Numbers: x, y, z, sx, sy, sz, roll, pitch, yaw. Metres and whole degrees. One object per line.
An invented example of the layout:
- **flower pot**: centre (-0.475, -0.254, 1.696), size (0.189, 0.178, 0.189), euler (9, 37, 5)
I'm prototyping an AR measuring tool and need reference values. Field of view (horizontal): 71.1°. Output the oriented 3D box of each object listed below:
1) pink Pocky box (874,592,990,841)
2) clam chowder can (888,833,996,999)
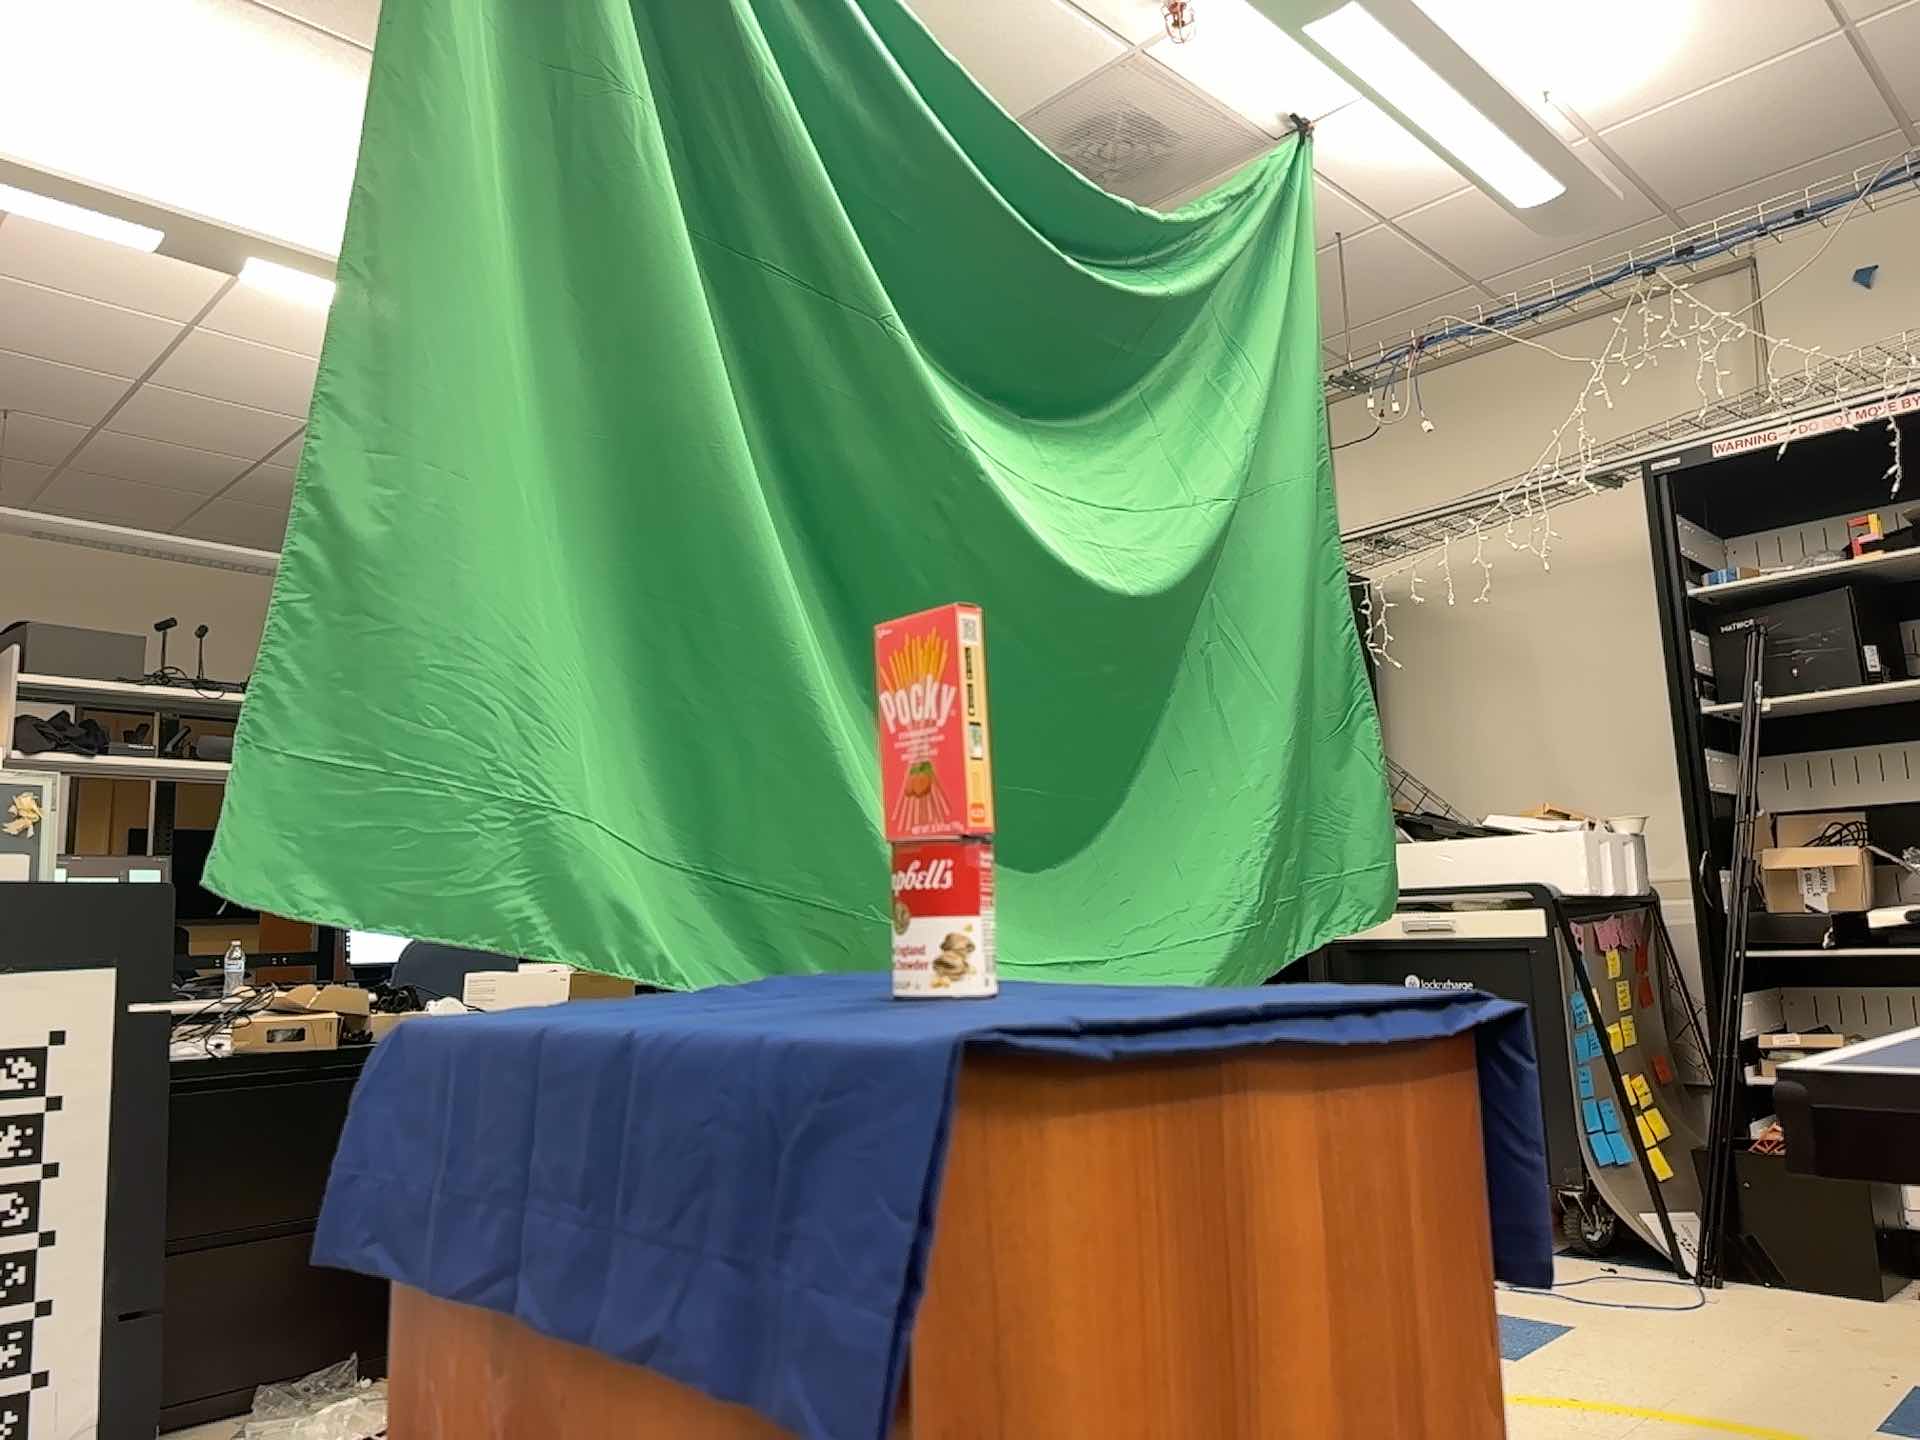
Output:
- **pink Pocky box**: centre (-0.020, -0.001, 0.882), size (0.029, 0.155, 0.084), euler (4, -11, -39)
- **clam chowder can**: centre (-0.012, 0.126, 0.865), size (0.068, 0.102, 0.068), euler (-2, -9, 0)
